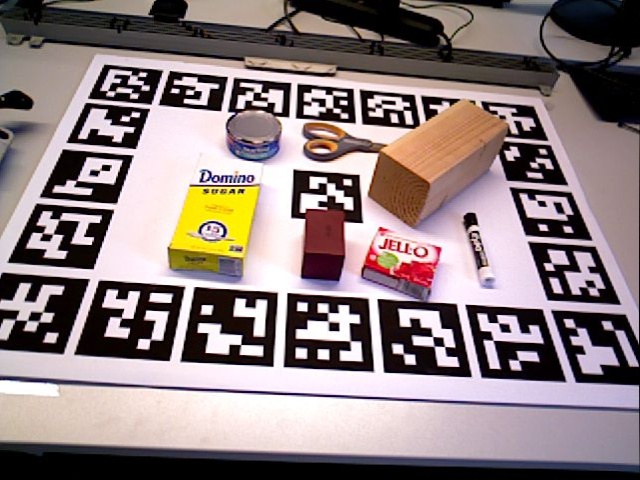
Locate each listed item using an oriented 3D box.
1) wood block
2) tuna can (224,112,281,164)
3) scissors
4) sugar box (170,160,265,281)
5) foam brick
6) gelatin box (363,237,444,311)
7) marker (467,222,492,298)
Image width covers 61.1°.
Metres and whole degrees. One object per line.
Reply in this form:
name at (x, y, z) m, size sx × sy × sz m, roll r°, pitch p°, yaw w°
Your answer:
wood block at (0.185, -0.103, 0.797) m, size 0.202 × 0.093 × 0.090 m, roll -35°, pitch 62°, yaw -31°
tuna can at (-0.103, -0.156, 0.833) m, size 0.085 × 0.034 × 0.084 m, roll 3°, pitch 52°, yaw -5°
scissors at (0.067, -0.139, 0.857) m, size 0.202 × 0.016 × 0.086 m, roll 9°, pitch 51°, yaw 3°
sugar box at (-0.132, -0.030, 0.726) m, size 0.092 × 0.046 × 0.173 m, roll 9°, pitch 51°, yaw -2°
foam brick at (0.008, 0.016, 0.695) m, size 0.052 × 0.052 × 0.077 m, roll 6°, pitch 51°, yaw -2°
gelatin box at (0.109, 0.042, 0.706) m, size 0.089 × 0.031 × 0.072 m, roll 19°, pitch 52°, yaw 9°
marker at (0.217, 0.023, 0.740) m, size 0.019 × 0.020 × 0.119 m, roll 6°, pitch 53°, yaw -3°
